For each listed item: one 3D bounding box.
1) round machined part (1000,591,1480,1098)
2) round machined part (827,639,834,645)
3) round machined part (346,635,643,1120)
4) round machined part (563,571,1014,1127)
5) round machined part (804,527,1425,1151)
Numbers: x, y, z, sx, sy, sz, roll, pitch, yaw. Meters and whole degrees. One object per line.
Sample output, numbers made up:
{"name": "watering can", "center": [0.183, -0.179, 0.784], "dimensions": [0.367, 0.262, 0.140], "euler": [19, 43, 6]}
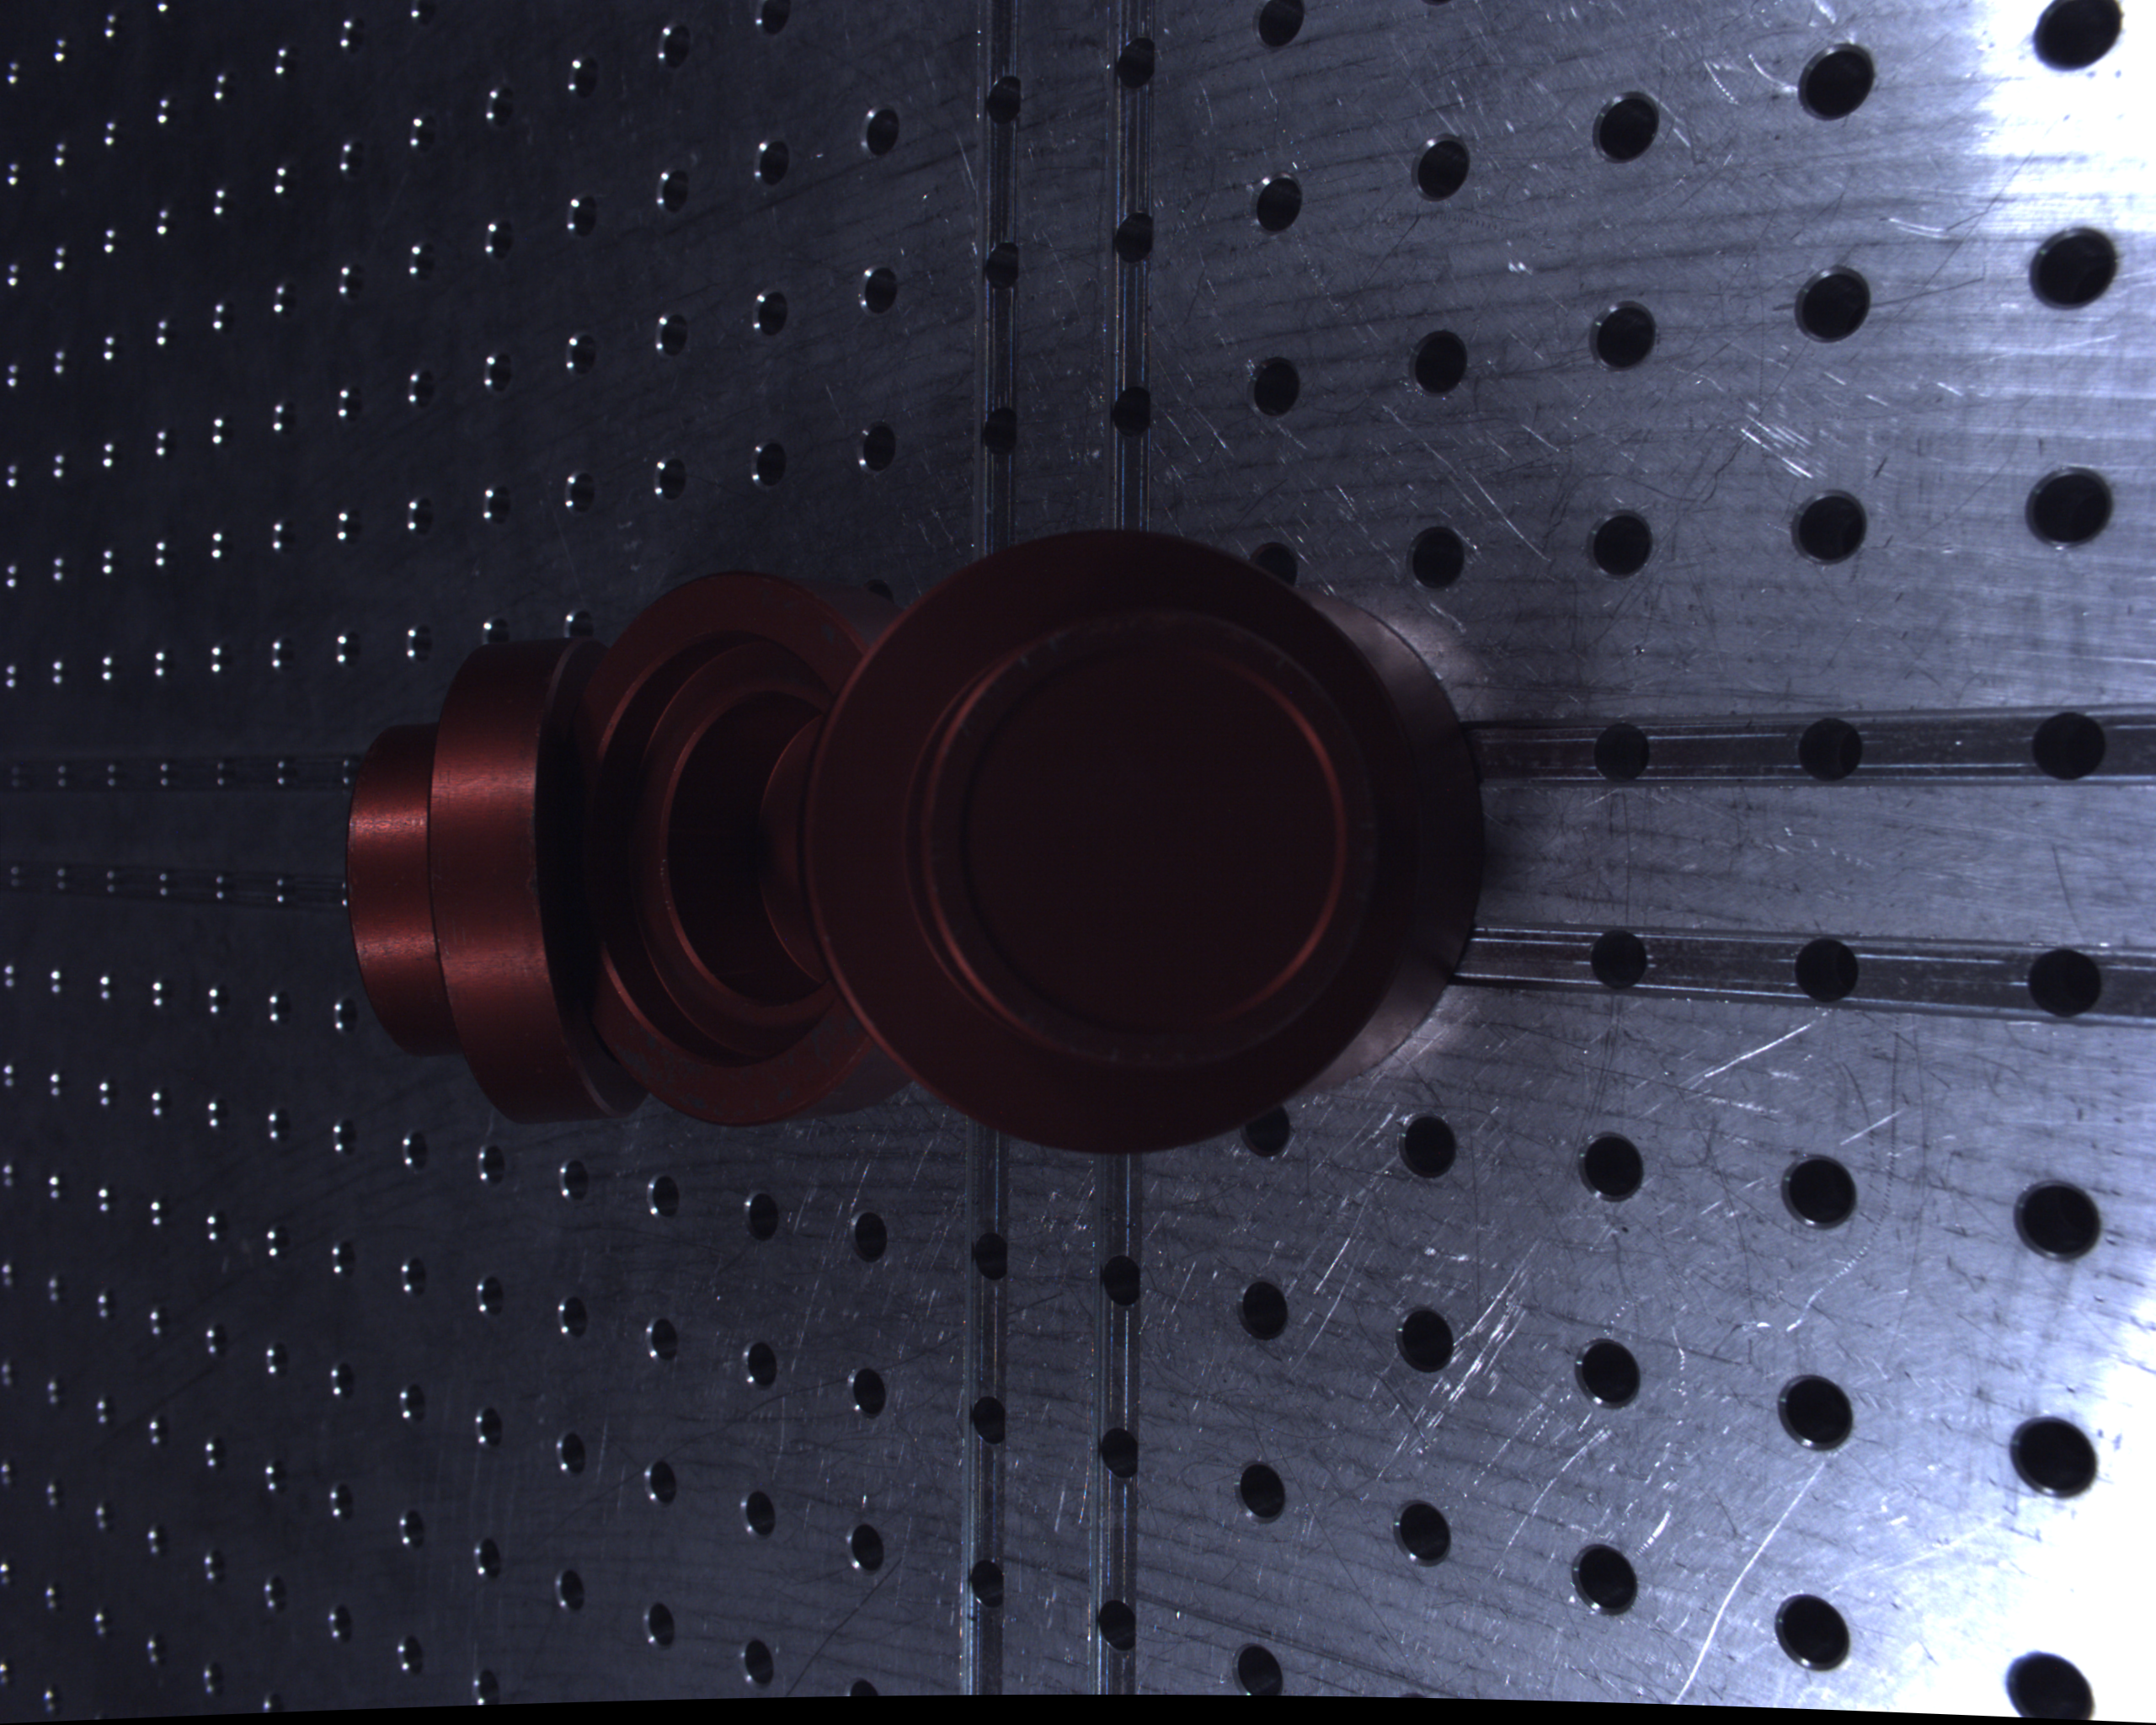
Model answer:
{"name": "round machined part", "center": [0.020, -0.003, 0.380], "dimensions": [0.098, 0.042, 0.097], "euler": [0, 90, 39]}
{"name": "round machined part", "center": [-0.056, -0.004, 0.442], "dimensions": [0.098, 0.042, 0.097], "euler": [0, 90, 39]}
{"name": "round machined part", "center": [-0.115, 0.004, 0.424], "dimensions": [0.042, 0.098, 0.097], "euler": [-4, 87, 2]}
{"name": "round machined part", "center": [-0.049, -0.003, 0.381], "dimensions": [0.098, 0.042, 0.097], "euler": [0, 90, 39]}
{"name": "round machined part", "center": [0.007, -0.004, 0.324], "dimensions": [0.042, 0.099, 0.097], "euler": [-179, 89, -80]}
